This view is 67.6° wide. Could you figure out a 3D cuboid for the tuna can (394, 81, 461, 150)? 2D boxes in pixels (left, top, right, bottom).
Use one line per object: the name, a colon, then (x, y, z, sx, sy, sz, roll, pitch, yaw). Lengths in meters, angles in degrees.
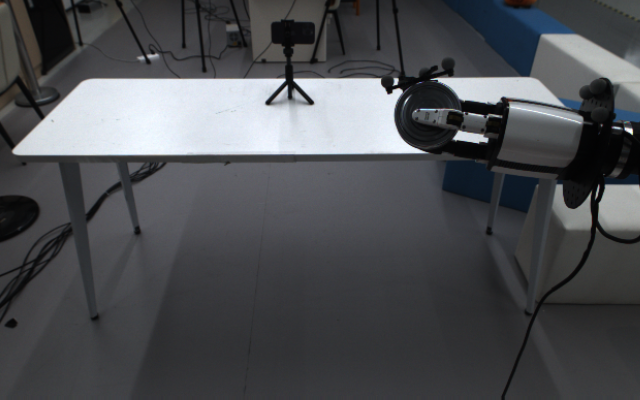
tuna can: (0.141, -0.112, 0.628, 0.085, 0.085, 0.034, 12, 3, 14)
